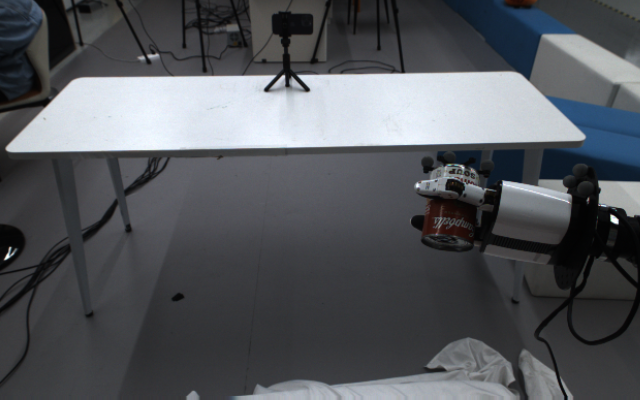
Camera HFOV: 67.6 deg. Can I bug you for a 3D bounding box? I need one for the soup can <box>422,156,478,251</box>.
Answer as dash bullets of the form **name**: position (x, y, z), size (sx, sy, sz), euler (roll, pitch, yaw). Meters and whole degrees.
- **soup can**: position (0.176, 0.010, 0.644), size (0.067, 0.067, 0.101), euler (9, 70, 10)
